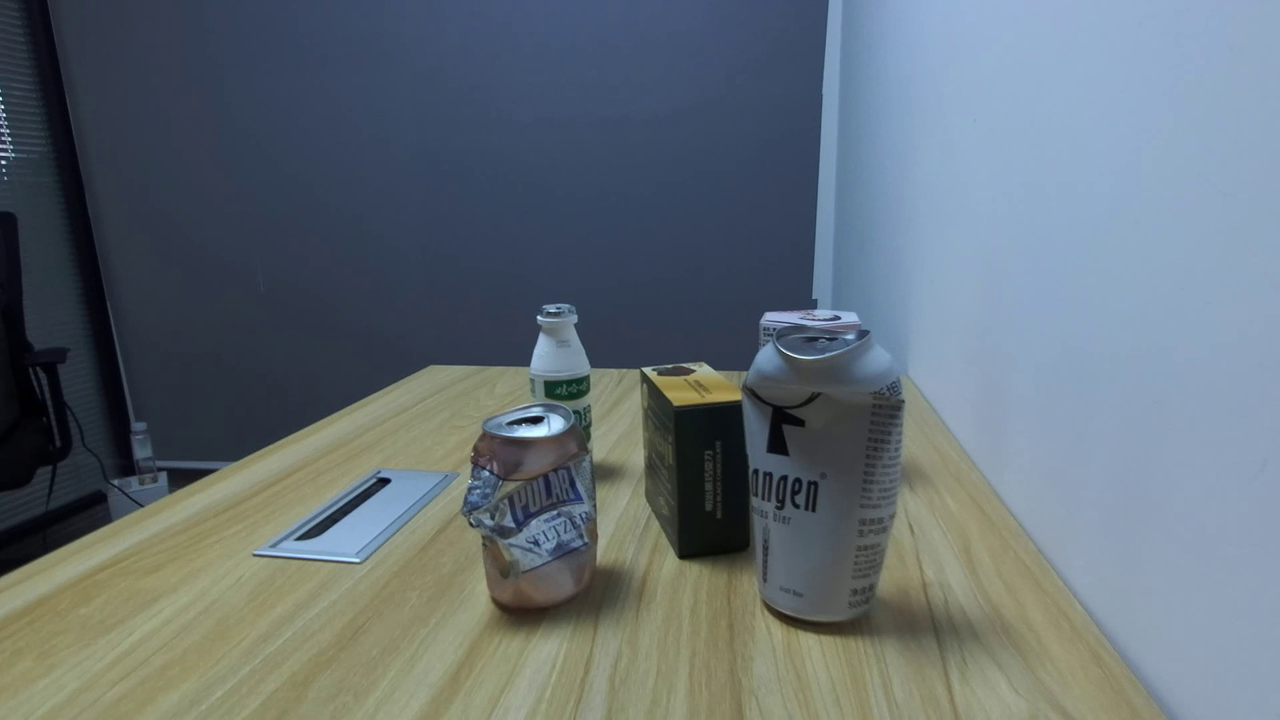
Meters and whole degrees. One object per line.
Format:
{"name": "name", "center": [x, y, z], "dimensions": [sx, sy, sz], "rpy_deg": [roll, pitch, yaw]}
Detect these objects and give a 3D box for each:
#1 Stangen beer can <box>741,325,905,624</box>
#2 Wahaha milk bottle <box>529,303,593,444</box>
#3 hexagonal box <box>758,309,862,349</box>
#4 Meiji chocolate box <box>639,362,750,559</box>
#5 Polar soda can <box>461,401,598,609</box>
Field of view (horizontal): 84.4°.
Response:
{"name": "Stangen beer can", "center": [0.100, 0.063, 0.396], "dimensions": [0.077, 0.162, 0.065], "rpy_deg": [-3, 13, -5]}
{"name": "Wahaha milk bottle", "center": [-0.069, 0.032, 0.607], "dimensions": [0.053, 0.136, 0.053], "rpy_deg": [0, 14, 0]}
{"name": "hexagonal box", "center": [0.142, 0.029, 0.598], "dimensions": [0.091, 0.136, 0.083], "rpy_deg": [-5, 14, -16]}
{"name": "Meiji chocolate box", "center": [0.039, 0.067, 0.509], "dimensions": [0.056, 0.109, 0.109], "rpy_deg": [-5, 13, -11]}
{"name": "Polar soda can", "center": [-0.065, 0.088, 0.424], "dimensions": [0.070, 0.114, 0.074], "rpy_deg": [-6, 8, 4]}
